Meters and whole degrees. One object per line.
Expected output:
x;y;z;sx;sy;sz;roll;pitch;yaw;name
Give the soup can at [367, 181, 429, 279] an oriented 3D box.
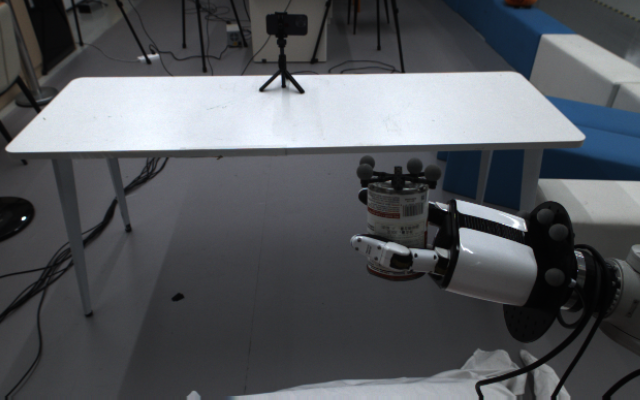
0.088;0.030;0.533;0.067;0.101;0.067;-1;17;0;soup can
